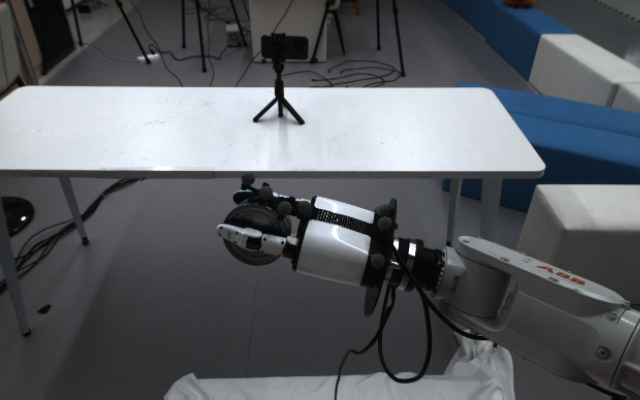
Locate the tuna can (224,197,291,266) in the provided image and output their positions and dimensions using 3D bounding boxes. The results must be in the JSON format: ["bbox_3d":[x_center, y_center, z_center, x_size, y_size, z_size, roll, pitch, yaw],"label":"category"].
[{"bbox_3d":[-0.079,0.039,0.630,0.085,0.085,0.034,7,17,7],"label":"tuna can"}]
